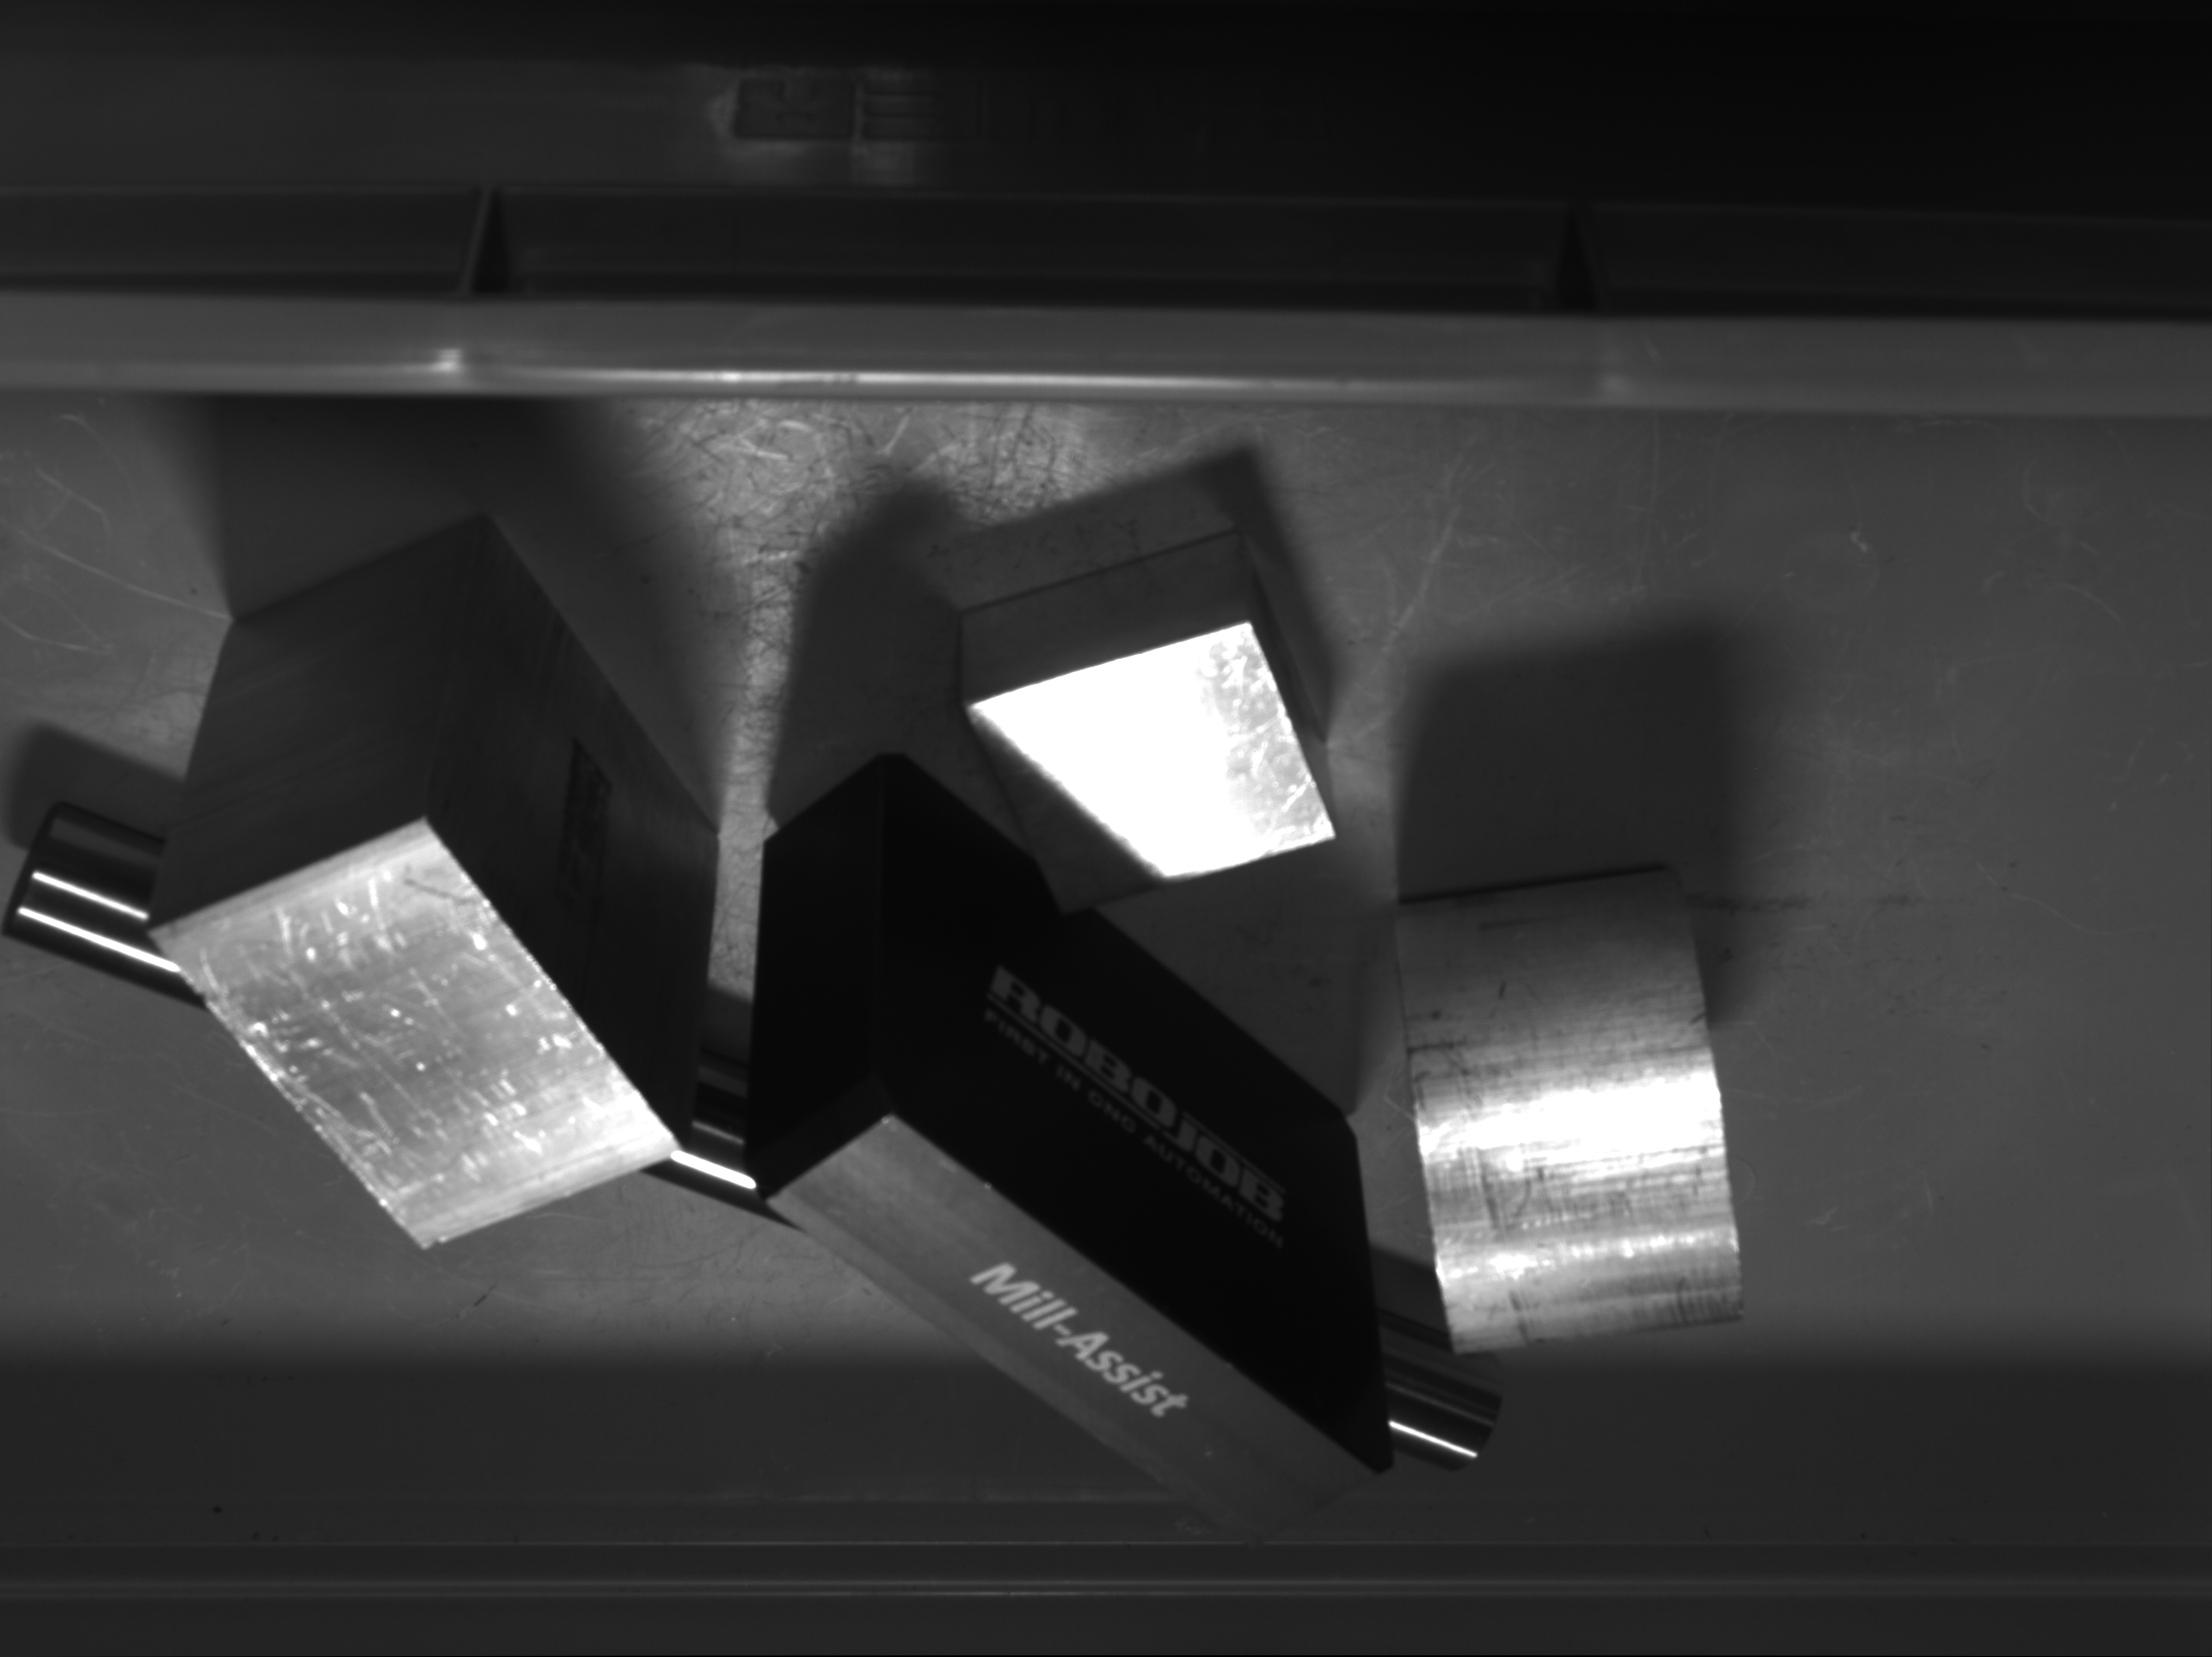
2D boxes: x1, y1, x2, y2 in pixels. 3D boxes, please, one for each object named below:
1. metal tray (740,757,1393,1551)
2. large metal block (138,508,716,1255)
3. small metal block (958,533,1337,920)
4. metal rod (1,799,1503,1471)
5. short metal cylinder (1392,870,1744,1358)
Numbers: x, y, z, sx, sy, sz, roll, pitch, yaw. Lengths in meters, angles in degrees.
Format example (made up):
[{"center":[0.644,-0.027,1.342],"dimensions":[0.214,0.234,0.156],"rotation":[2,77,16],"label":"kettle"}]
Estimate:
[{"center":[-0.005,0.057,0.641],"dimensions":[0.030,0.090,0.130],"rotation":[-36,122,24],"label":"metal tray"},{"center":[-0.108,0.009,0.605],"dimensions":[0.050,0.080,0.080],"rotation":[-21,128,15],"label":"large metal block"},{"center":[0.007,-0.017,0.622],"dimensions":[0.050,0.025,0.050],"rotation":[-16,129,11],"label":"small metal block"},{"center":[-0.057,0.062,0.687],"dimensions":[0.301,0.025,0.025],"rotation":[23,126,-20],"label":"metal rod"},{"center":[0.081,0.050,0.646],"dimensions":[0.050,0.080,0.080],"rotation":[-8,130,6],"label":"short metal cylinder"}]
